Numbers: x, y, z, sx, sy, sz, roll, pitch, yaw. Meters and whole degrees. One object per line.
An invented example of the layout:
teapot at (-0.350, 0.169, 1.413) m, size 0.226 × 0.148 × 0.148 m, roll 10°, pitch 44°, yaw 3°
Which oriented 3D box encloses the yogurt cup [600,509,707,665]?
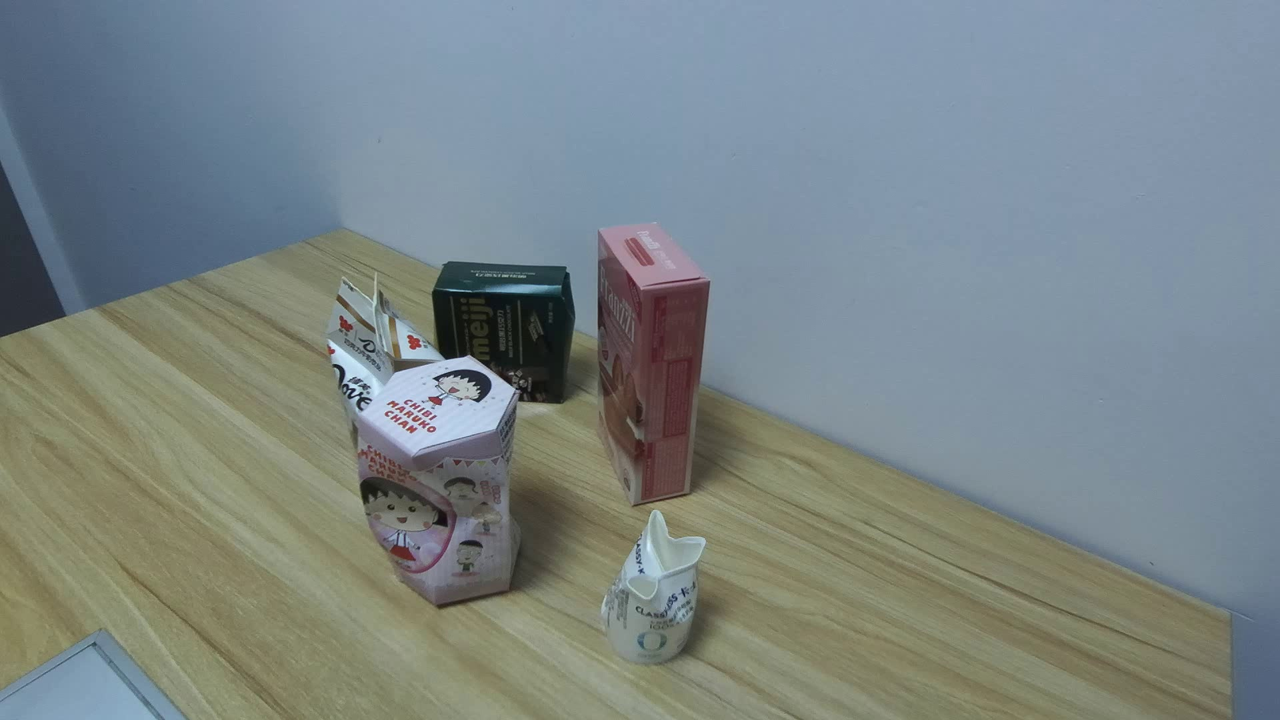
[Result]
yogurt cup at (0.008, 0.137, 0.418) m, size 0.055 × 0.072 × 0.055 m, roll 32°, pitch 43°, yaw 32°

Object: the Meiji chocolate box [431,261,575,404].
Meiji chocolate box at (-0.117, -0.026, 0.613) m, size 0.122 × 0.116 × 0.058 m, roll 5°, pitch 34°, yaw 0°

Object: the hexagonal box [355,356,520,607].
hexagonal box at (-0.120, 0.076, 0.441) m, size 0.089 × 0.135 × 0.093 m, roll 3°, pitch 34°, yaw -2°

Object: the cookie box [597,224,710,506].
cookie box at (0.005, 0.006, 0.514) m, size 0.048 × 0.185 × 0.096 m, roll -10°, pitch 35°, yaw -17°

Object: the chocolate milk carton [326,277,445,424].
chocolate milk carton at (-0.174, 0.016, 0.506) m, size 0.074 × 0.156 × 0.076 m, roll -19°, pitch 40°, yaw -27°
